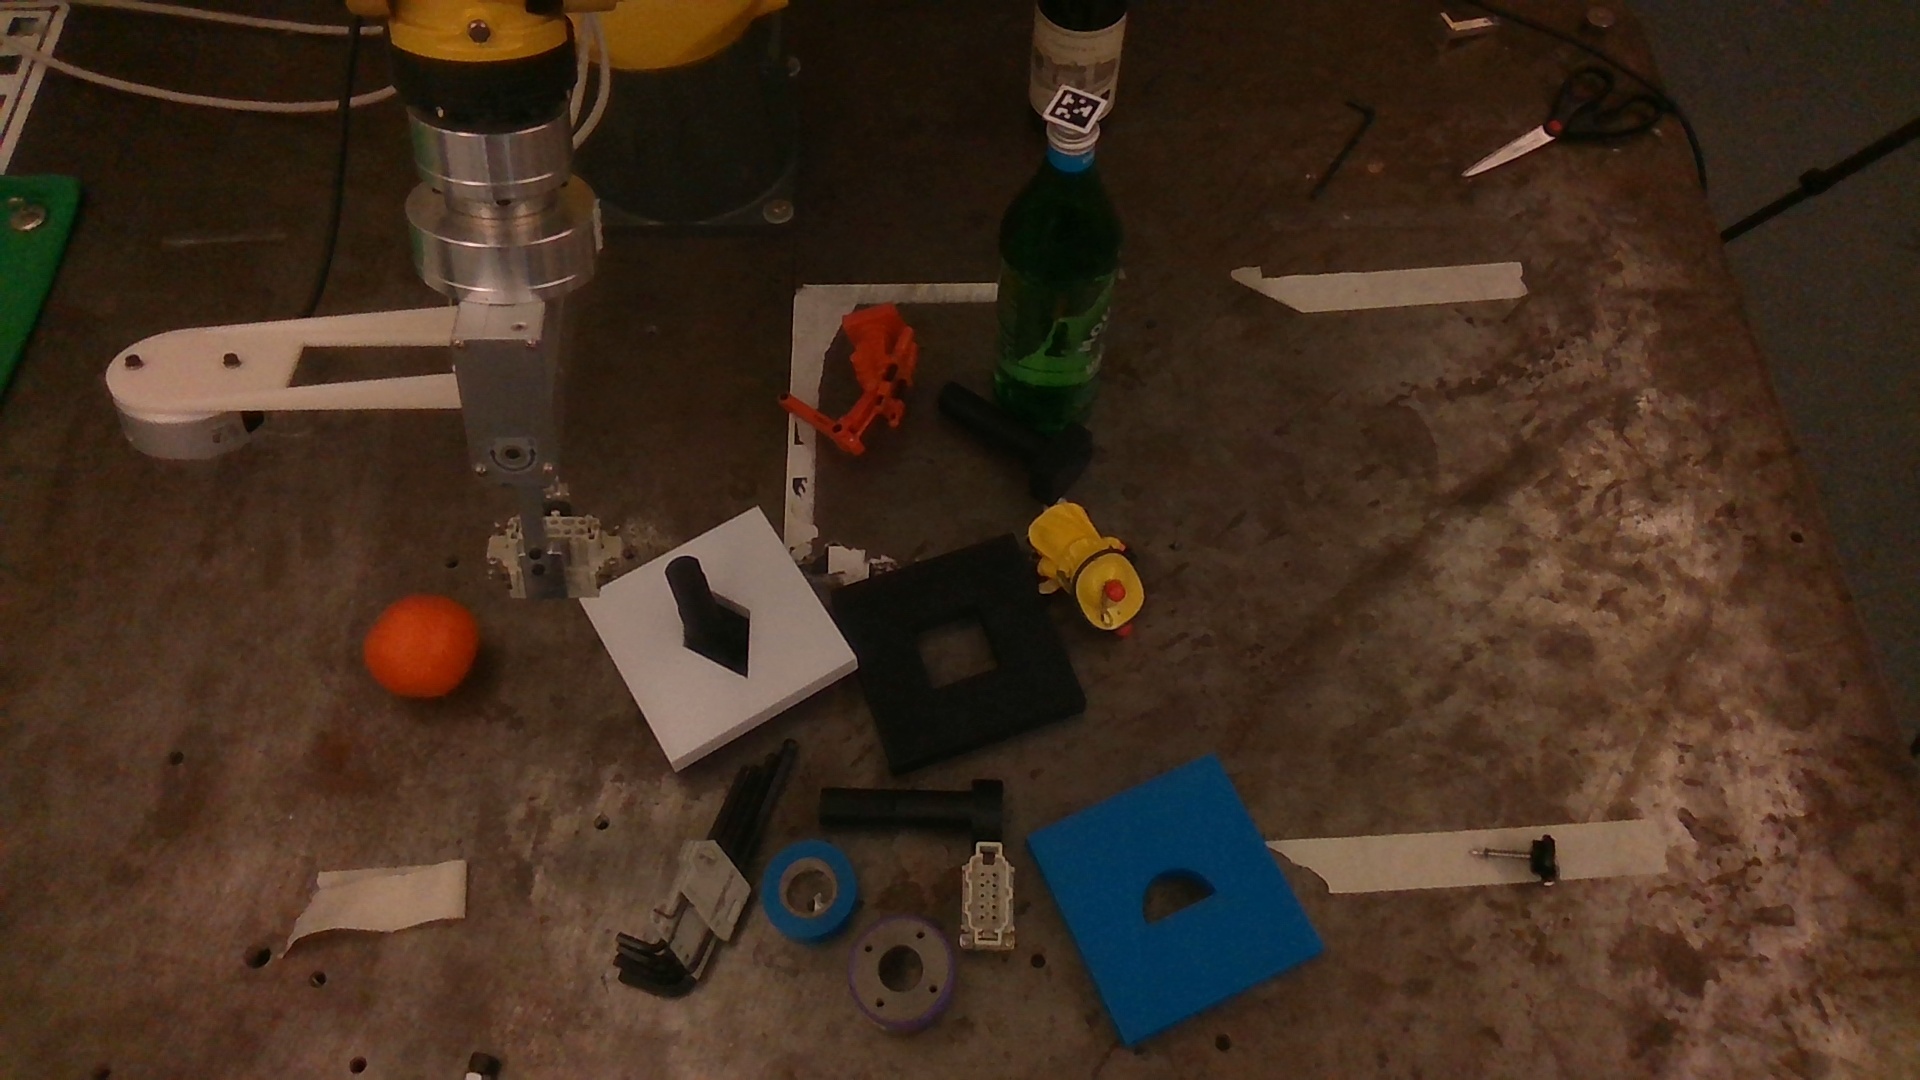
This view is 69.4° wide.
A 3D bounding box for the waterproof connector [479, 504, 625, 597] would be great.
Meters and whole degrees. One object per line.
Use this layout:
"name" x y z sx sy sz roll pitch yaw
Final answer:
"waterproof connector" -0.205 0.003 0.696 0.069 0.038 0.037 -2 48 -9
